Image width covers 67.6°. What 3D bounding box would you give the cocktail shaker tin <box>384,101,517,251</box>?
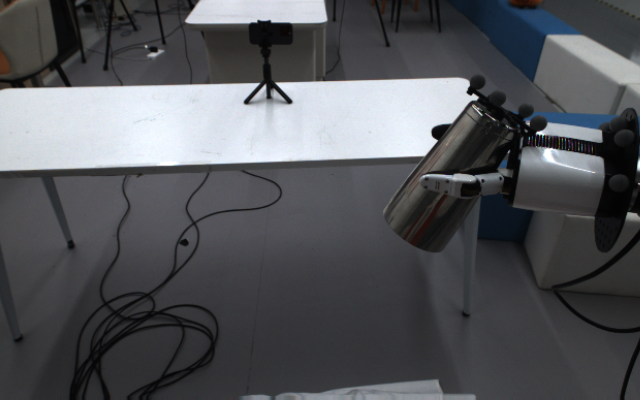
[{"bbox_3d":[0.161,-0.034,0.586,0.093,0.170,0.093,25,29,-15],"label":"cocktail shaker tin"}]
